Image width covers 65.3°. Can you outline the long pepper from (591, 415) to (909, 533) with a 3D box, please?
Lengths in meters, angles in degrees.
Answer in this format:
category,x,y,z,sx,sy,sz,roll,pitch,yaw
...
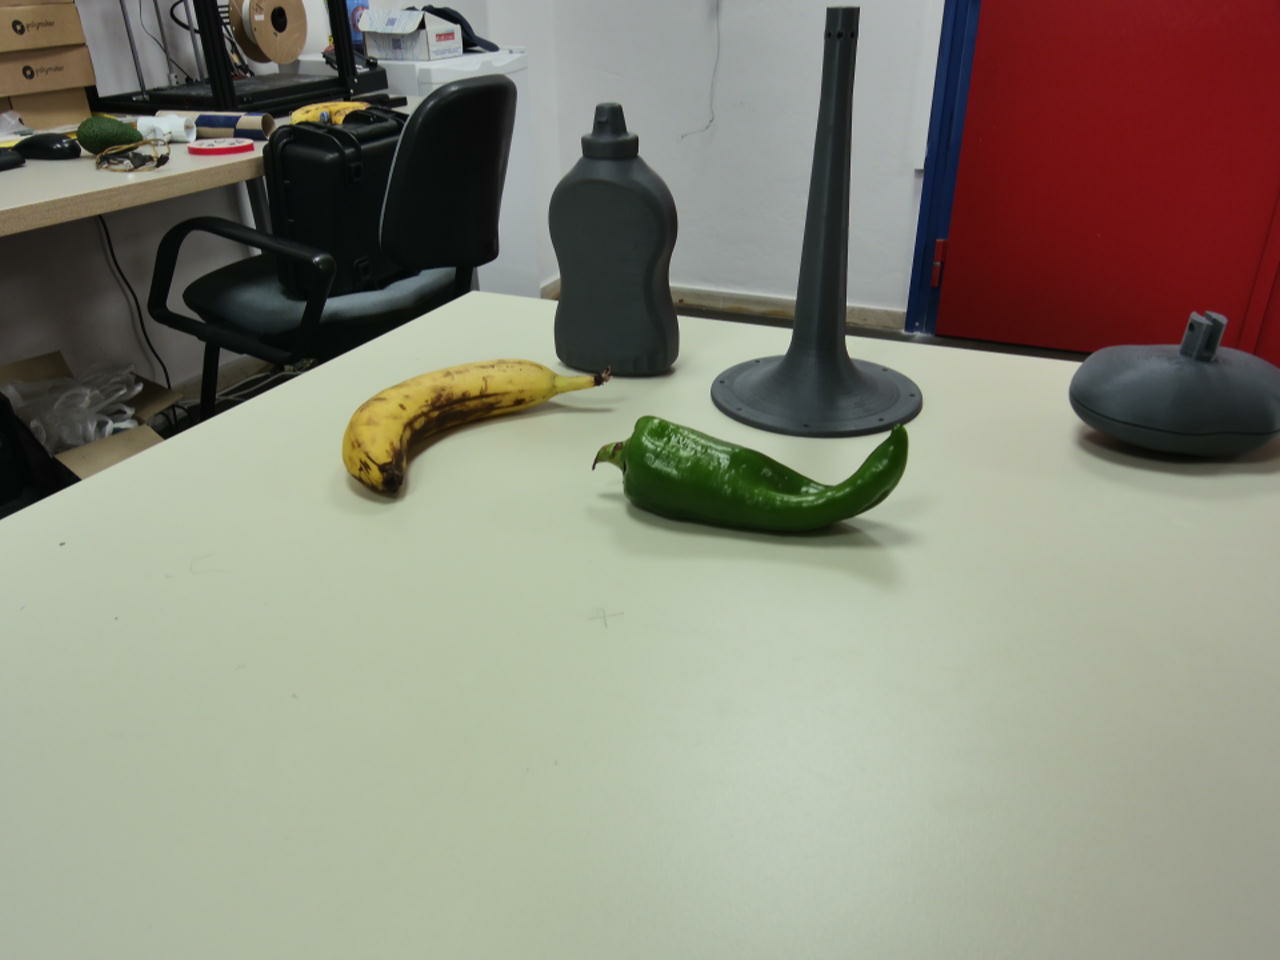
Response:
category,x,y,z,sx,sy,sz,roll,pitch,yaw
long pepper,0.055,-0.008,0.545,0.175,0.065,0.058,10,27,21
